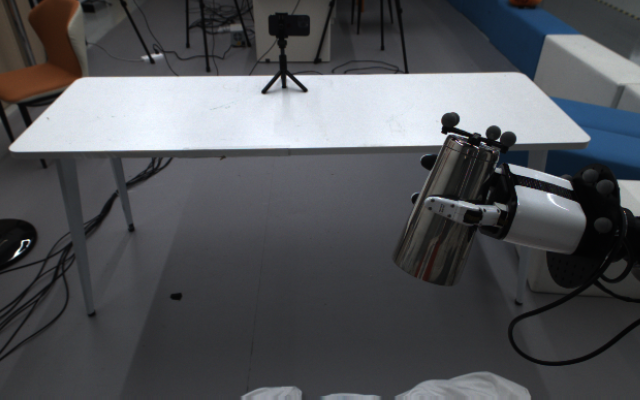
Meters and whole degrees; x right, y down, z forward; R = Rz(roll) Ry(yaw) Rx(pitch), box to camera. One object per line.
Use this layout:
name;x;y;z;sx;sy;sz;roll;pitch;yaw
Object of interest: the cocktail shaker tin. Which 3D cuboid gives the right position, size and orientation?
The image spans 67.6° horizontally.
cocktail shaker tin;0.162;0.009;0.606;0.093;0.170;0.093;15;17;-5
